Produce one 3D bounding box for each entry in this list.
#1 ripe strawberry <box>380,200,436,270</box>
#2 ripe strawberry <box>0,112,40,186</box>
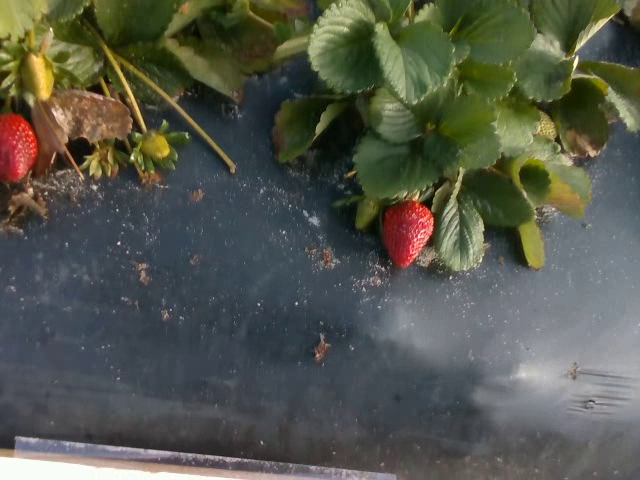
[{"bbox_3d":[0.040,-0.001,0.289,0.029,0.036,0.021,8,-18,-2],"label":"ripe strawberry"},{"bbox_3d":[-0.131,-0.035,0.264,0.031,0.030,0.026,-30,-23,-12],"label":"ripe strawberry"}]
